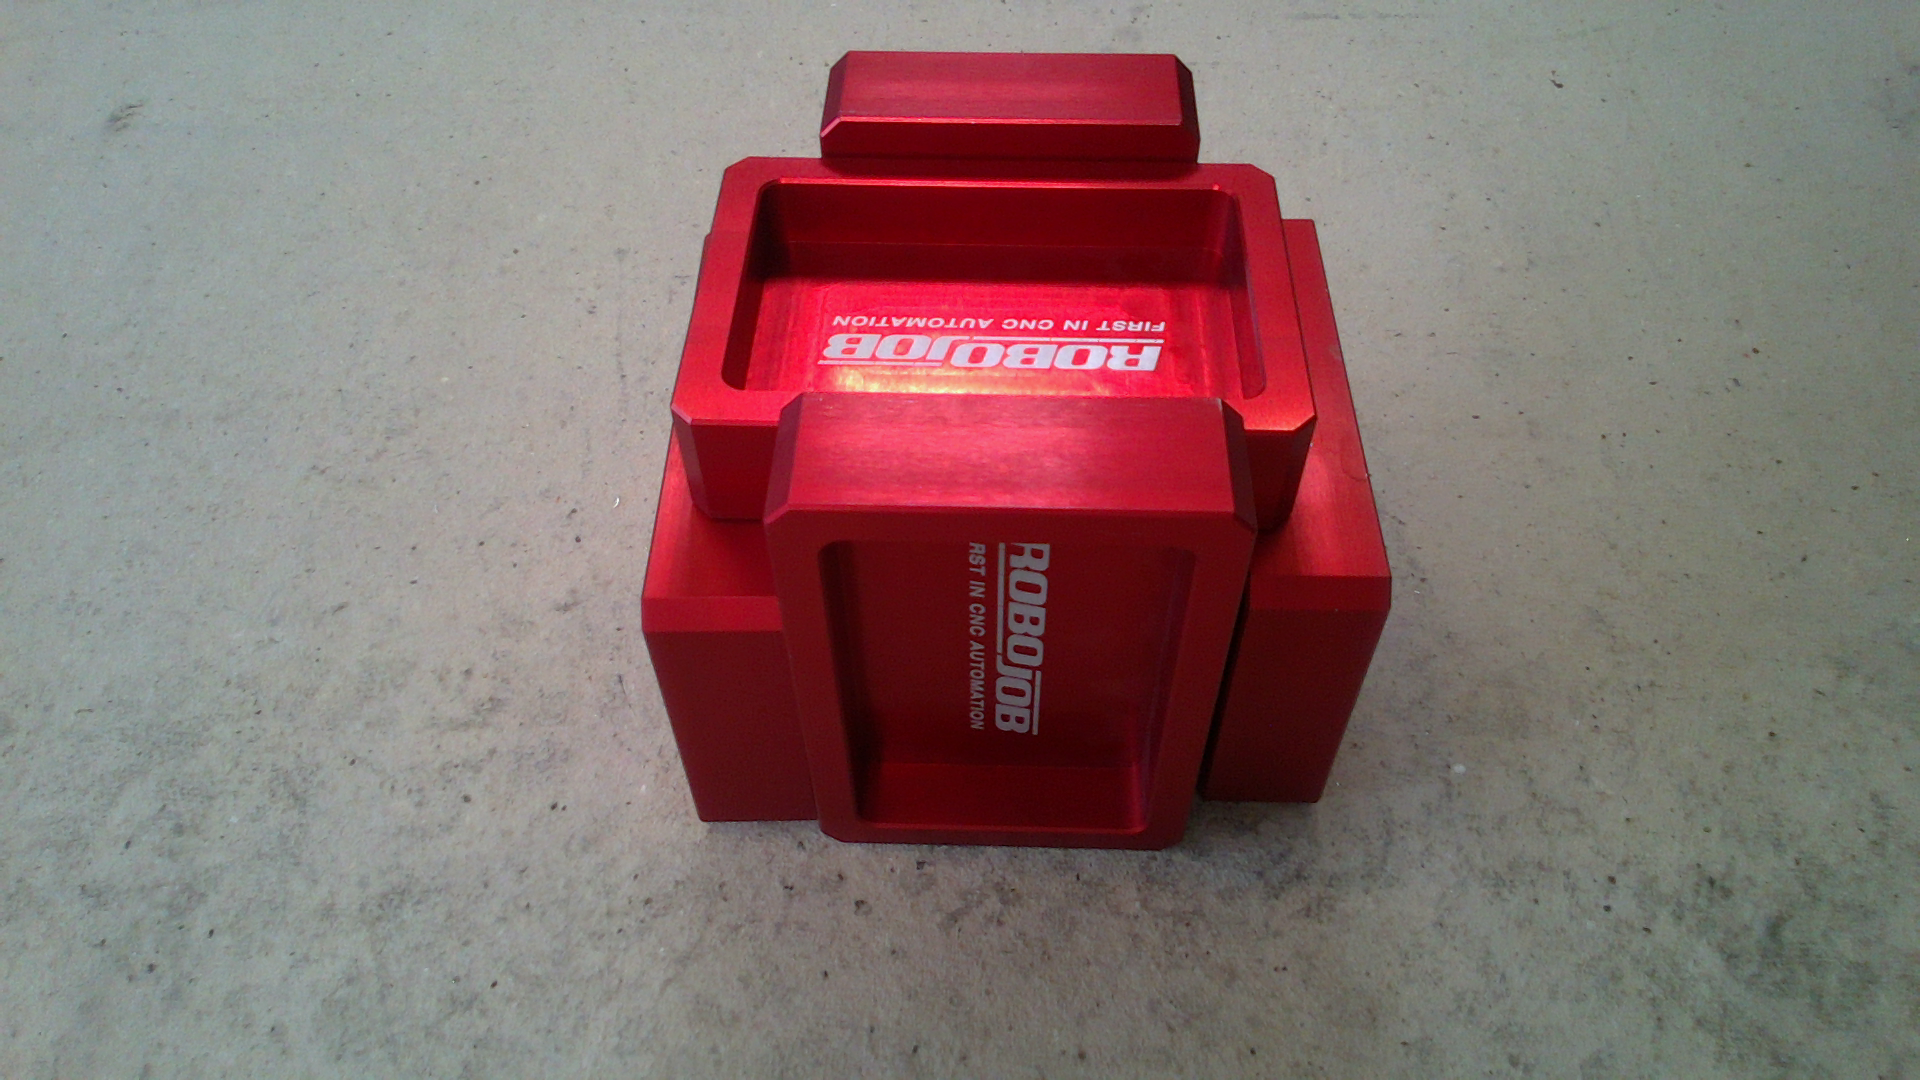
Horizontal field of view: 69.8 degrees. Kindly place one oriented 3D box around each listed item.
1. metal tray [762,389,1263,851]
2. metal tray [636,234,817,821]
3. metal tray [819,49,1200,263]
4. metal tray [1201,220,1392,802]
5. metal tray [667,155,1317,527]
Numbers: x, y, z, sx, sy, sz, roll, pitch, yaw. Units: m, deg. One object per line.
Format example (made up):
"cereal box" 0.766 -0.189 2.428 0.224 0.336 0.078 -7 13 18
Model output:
"metal tray" 0.010 0.024 0.302 0.090 0.130 0.030 1 50 1
"metal tray" -0.052 -0.006 0.354 0.030 0.090 0.130 0 50 0
"metal tray" 0.012 -0.068 0.379 0.090 0.130 0.030 1 50 1
"metal tray" 0.077 -0.010 0.357 0.030 0.090 0.130 1 49 2
"metal tray" 0.007 -0.048 0.311 0.130 0.030 0.090 1 50 1
